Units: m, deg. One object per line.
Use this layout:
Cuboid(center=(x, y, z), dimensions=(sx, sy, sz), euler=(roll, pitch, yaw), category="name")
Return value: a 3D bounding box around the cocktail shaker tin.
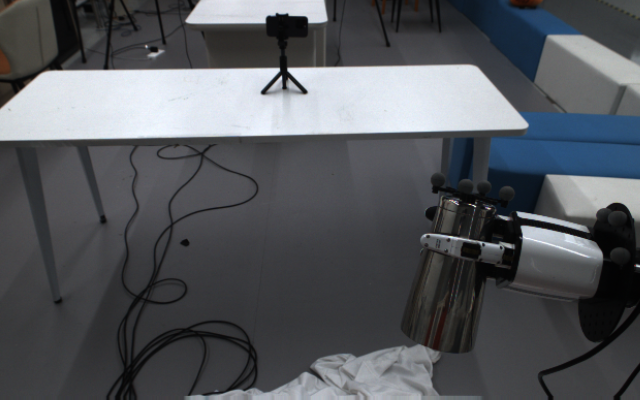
Cuboid(center=(0.165, 0.082, 0.589), dimensions=(0.093, 0.170, 0.093), euler=(10, 9, -2), category="cocktail shaker tin")
